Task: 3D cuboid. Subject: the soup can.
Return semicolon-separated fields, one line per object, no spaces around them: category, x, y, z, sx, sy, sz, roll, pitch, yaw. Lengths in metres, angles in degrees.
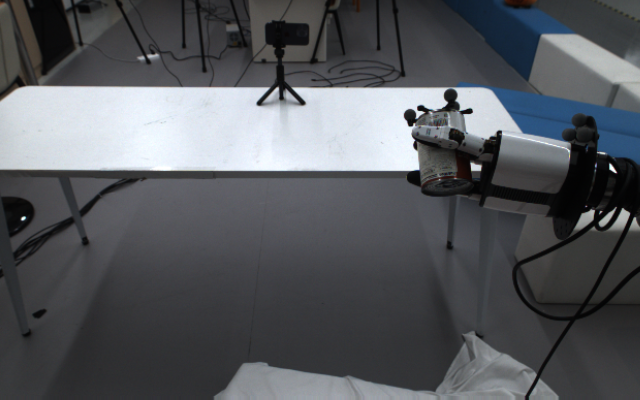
soup can;0.165;-0.065;0.654;0.067;0.067;0.101;-1;72;-4
